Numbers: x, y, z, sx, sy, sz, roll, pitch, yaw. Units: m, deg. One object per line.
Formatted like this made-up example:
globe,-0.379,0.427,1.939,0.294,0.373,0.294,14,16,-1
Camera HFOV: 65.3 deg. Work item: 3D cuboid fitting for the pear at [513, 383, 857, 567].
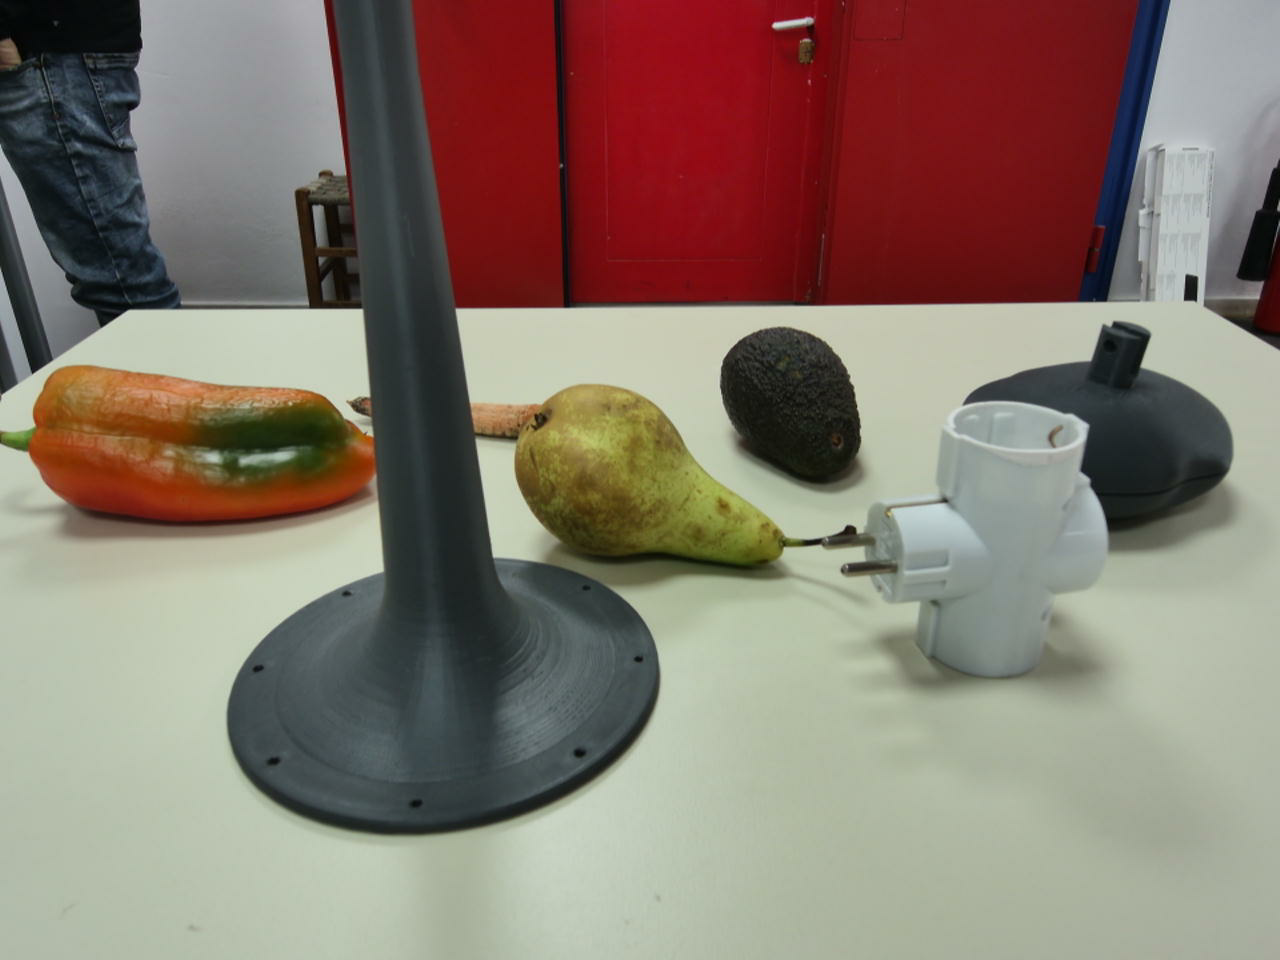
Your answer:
pear,0.018,-0.003,0.429,0.144,0.075,0.071,2,25,6
